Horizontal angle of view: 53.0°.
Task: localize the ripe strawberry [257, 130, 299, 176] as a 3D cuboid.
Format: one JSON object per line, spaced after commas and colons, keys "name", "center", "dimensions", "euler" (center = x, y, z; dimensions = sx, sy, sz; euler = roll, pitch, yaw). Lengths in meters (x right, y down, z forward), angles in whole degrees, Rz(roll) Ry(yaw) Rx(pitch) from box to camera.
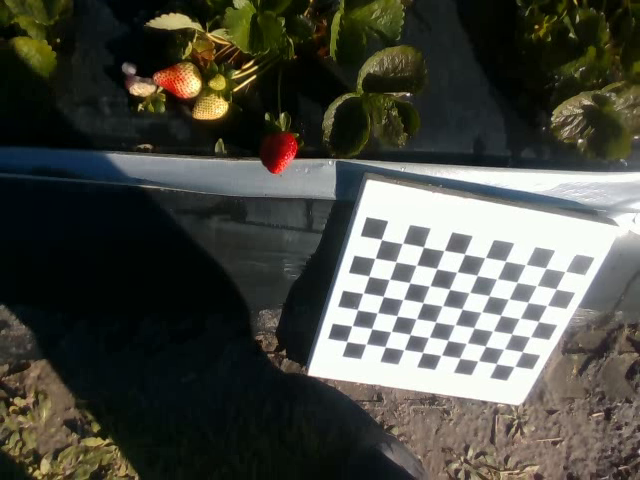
{"name": "ripe strawberry", "center": [-0.035, -0.067, 0.512], "dimensions": [0.036, 0.046, 0.038], "euler": [10, -45, -6]}
